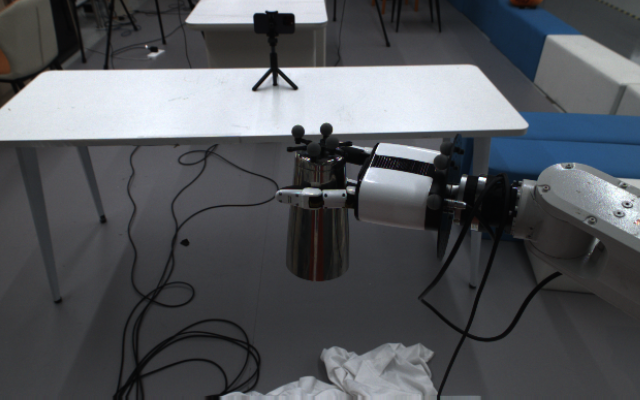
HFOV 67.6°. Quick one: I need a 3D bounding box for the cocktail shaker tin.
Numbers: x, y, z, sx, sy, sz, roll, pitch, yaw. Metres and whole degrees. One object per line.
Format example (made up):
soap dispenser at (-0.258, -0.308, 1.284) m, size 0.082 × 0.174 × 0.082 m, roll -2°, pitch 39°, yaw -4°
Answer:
cocktail shaker tin at (0.001, 0.012, 0.666) m, size 0.093 × 0.170 × 0.093 m, roll 1°, pitch 27°, yaw -1°
